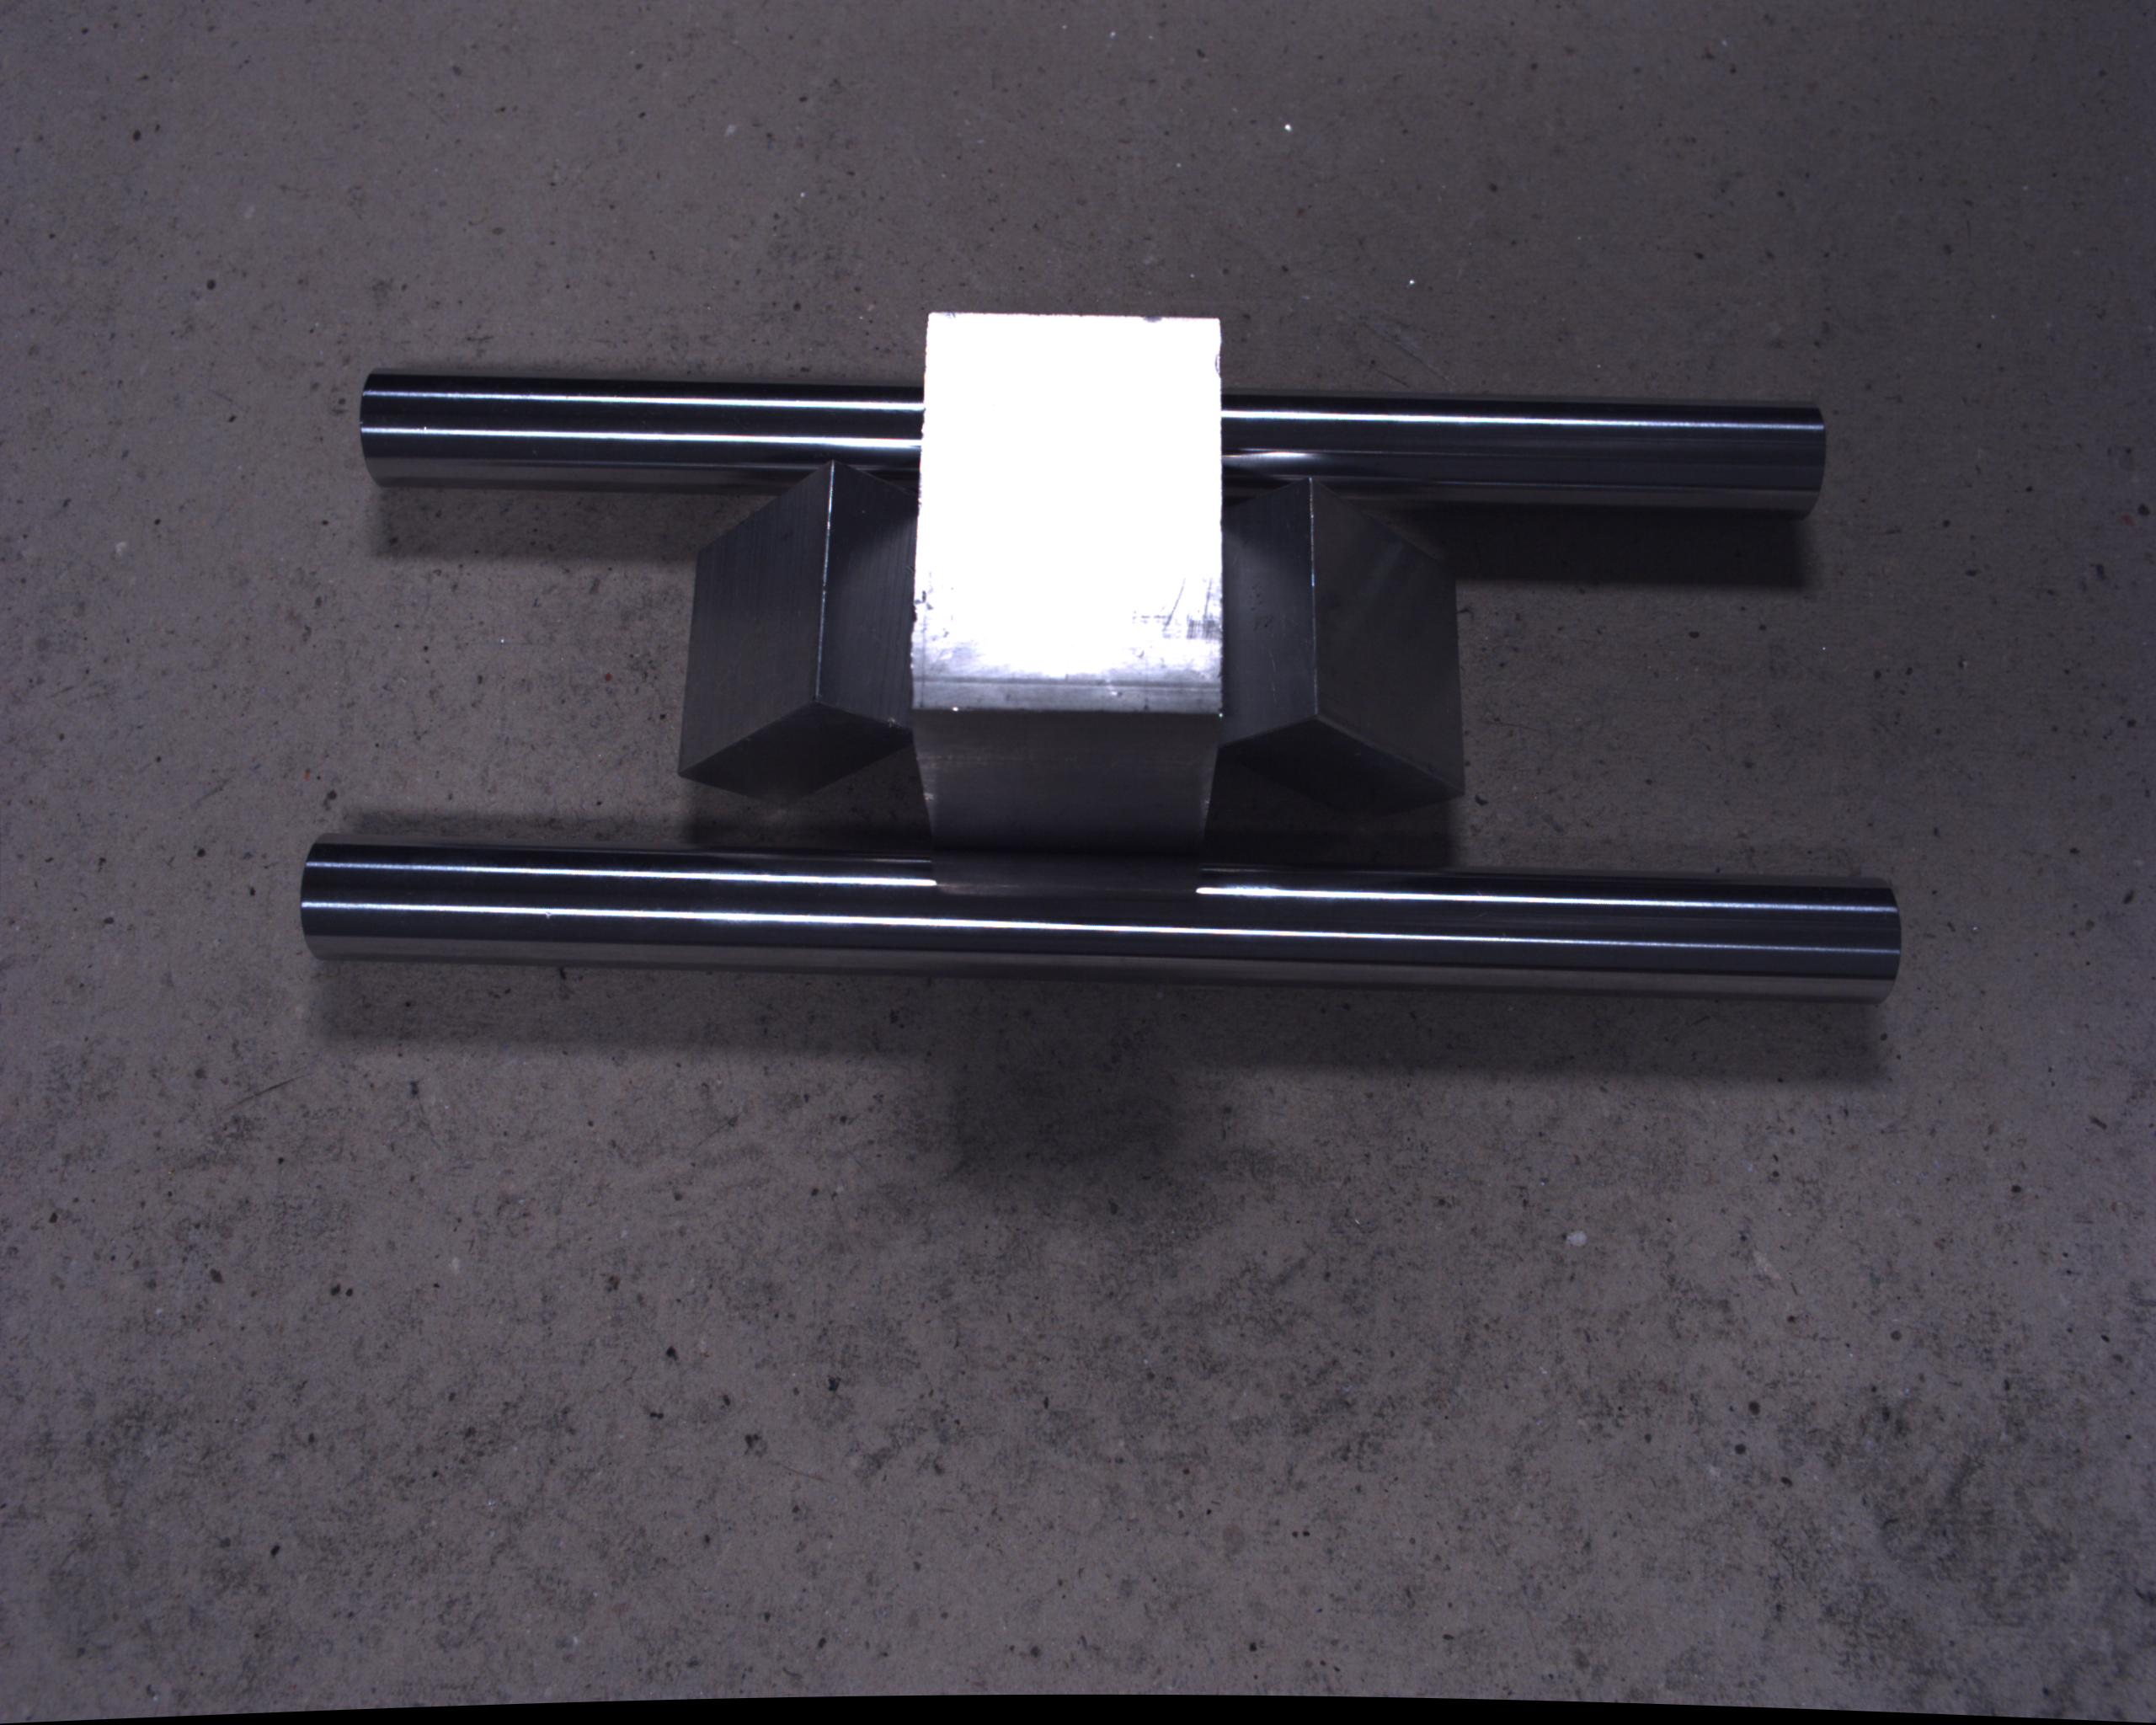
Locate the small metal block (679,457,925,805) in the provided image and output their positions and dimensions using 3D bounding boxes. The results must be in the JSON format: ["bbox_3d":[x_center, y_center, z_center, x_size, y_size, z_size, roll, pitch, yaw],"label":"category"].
[{"bbox_3d":[-0.053,-0.044,0.410,0.025,0.050,0.050,16,65,-37],"label":"small metal block"}]

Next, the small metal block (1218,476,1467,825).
[{"bbox_3d":[0.051,-0.040,0.410,0.025,0.050,0.050,-17,64,39],"label":"small metal block"}]

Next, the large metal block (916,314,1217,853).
[{"bbox_3d":[-0.002,-0.048,0.400,0.050,0.080,0.080,1,70,0],"label":"large metal block"}]

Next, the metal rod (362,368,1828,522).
[{"bbox_3d":[0.004,-0.088,0.442,0.302,0.025,0.025,1,70,0],"label":"metal rod"}]

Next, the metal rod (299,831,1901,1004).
[{"bbox_3d":[0.004,0.011,0.405,0.302,0.025,0.025,2,70,0],"label":"metal rod"}]
